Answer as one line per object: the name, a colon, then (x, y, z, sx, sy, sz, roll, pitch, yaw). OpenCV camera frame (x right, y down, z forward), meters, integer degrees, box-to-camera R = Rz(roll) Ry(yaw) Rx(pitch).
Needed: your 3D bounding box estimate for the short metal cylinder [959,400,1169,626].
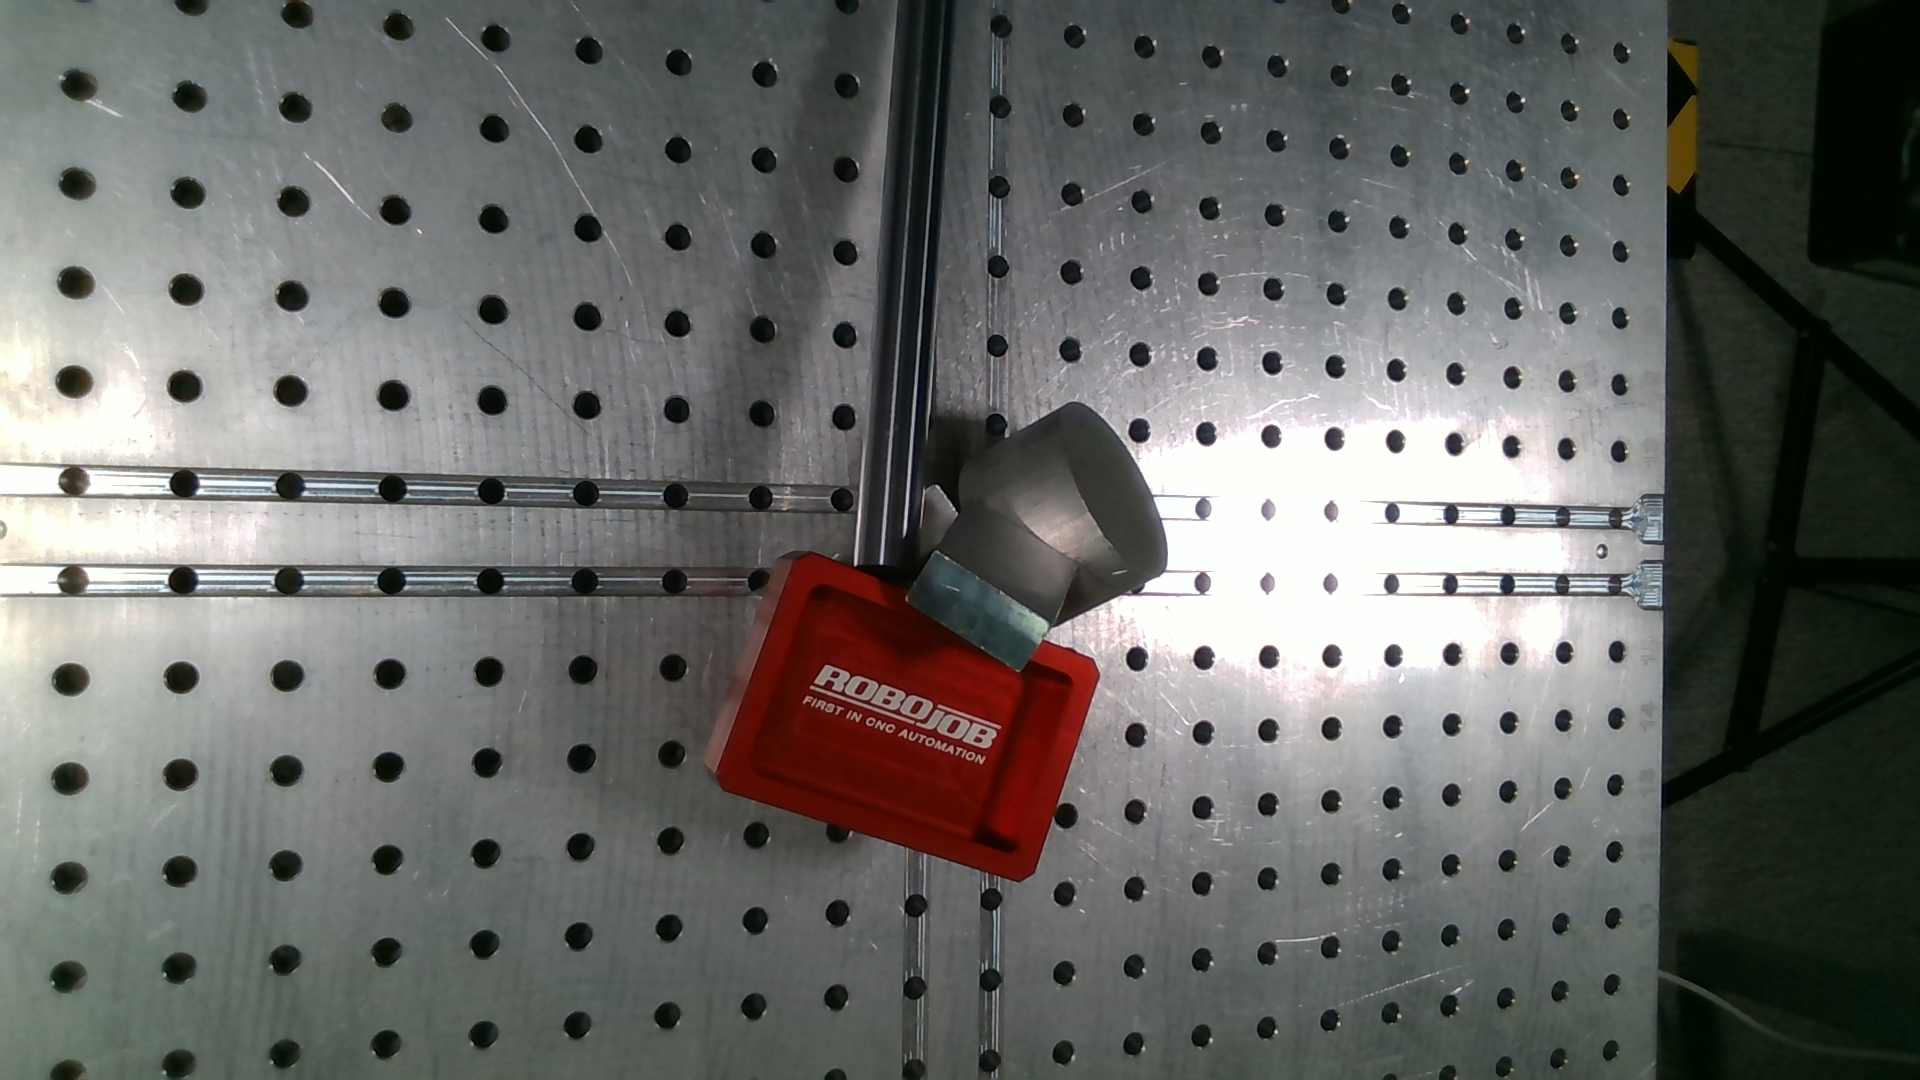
short metal cylinder: (0.044, -0.011, 0.569, 0.050, 0.080, 0.080, -28, 103, 25)

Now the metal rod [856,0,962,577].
metal rod: (-0.018, -0.134, 0.550, 0.025, 0.025, 0.299, 9, 76, -20)

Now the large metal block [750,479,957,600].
large metal block: (-0.027, 0.032, 0.564, 0.080, 0.050, 0.080, -37, 102, -16)

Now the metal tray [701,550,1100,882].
metal tray: (-0.021, 0.067, 0.522, 0.130, 0.030, 0.090, 22, 83, -19)

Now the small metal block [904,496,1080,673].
small metal block: (0.013, 0.016, 0.516, 0.050, 0.050, 0.025, 32, 119, 0)
